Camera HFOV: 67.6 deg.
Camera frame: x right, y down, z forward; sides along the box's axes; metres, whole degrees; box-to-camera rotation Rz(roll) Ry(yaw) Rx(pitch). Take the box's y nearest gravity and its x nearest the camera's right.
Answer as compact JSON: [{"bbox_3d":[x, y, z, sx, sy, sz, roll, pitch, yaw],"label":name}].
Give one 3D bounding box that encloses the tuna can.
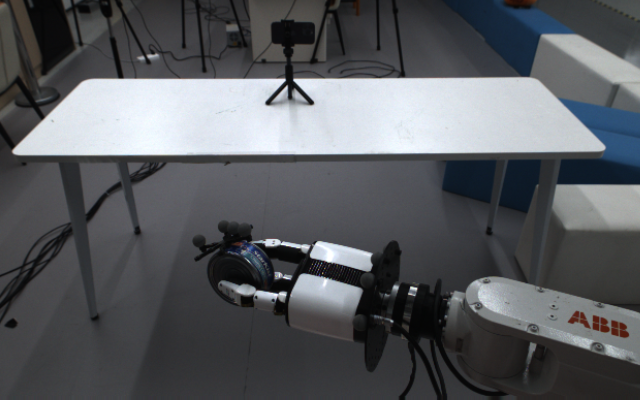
[{"bbox_3d":[-0.102,0.104,0.639,0.085,0.085,0.034,15,30,17],"label":"tuna can"}]
